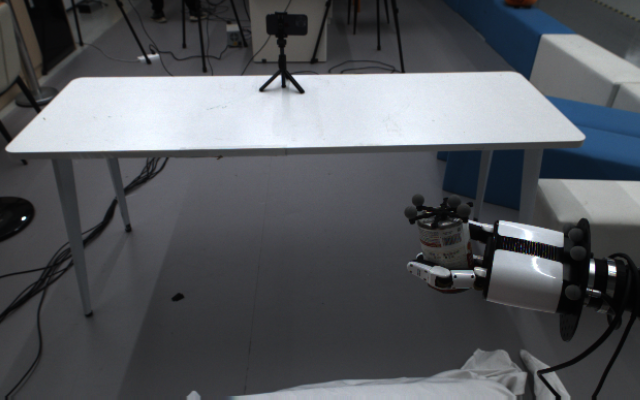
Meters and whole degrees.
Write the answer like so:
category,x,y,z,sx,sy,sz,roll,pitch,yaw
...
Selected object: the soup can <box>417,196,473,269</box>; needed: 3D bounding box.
category,x,y,z,sx,sy,sz,roll,pitch,yaw
soup can,0.176,0.067,0.661,0.067,0.101,0.067,-13,20,5
